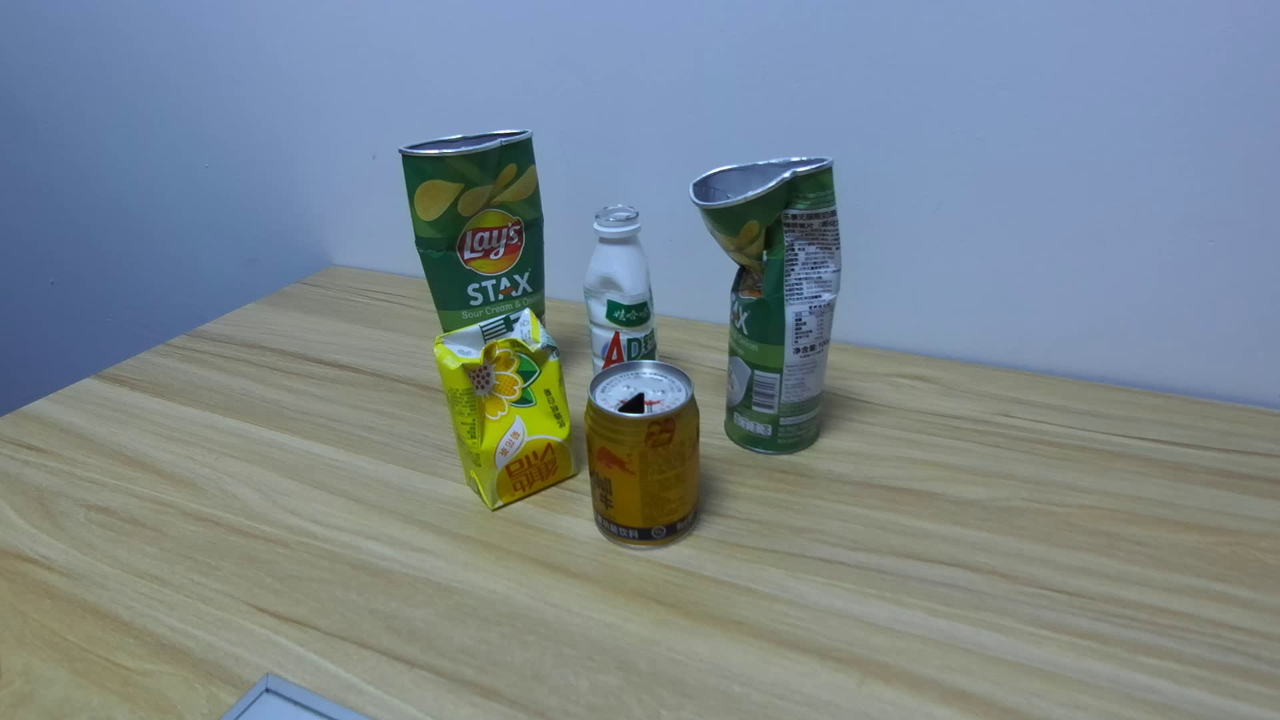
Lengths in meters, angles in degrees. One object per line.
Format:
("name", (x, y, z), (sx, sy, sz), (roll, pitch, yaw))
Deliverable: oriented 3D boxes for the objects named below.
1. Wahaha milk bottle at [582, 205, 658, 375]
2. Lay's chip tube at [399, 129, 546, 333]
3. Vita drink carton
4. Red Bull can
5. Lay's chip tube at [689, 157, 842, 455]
("Wahaha milk bottle", (-0.013, -0.039, 0.528), (0.055, 0.149, 0.055), (-2, 31, 1))
("Lay's chip tube", (-0.114, -0.064, 0.533), (0.068, 0.200, 0.075), (9, 32, 20))
("Vita drink carton", (-0.083, 0.032, 0.452), (0.071, 0.110, 0.046), (-20, 31, -28))
("Red Bull can", (0.003, 0.055, 0.418), (0.067, 0.093, 0.067), (-1, 30, 1))
("Lay's chip tube", (0.083, -0.032, 0.464), (0.071, 0.200, 0.078), (-26, 34, -24))
